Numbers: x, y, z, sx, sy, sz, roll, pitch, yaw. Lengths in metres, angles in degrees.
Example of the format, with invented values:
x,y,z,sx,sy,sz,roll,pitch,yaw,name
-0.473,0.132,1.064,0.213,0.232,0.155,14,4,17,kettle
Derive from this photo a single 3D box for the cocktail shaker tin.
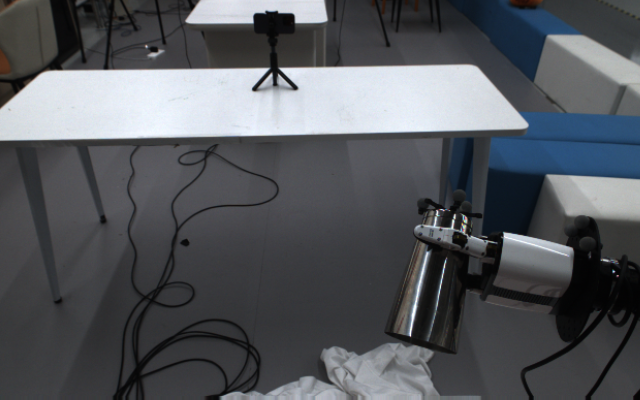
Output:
x,y,z,sx,sy,sz,roll,pitch,yaw,name
0.150,0.099,0.632,0.093,0.093,0.170,13,71,15,cocktail shaker tin
